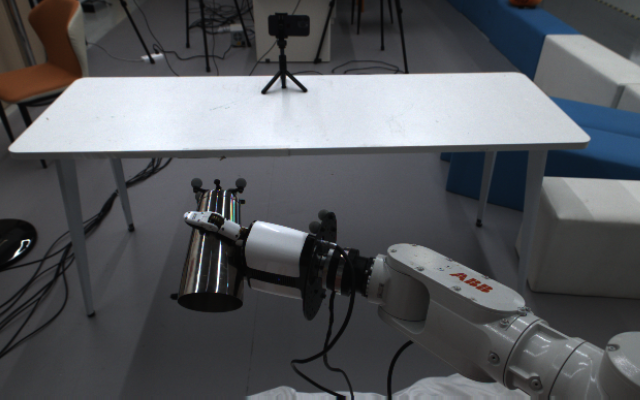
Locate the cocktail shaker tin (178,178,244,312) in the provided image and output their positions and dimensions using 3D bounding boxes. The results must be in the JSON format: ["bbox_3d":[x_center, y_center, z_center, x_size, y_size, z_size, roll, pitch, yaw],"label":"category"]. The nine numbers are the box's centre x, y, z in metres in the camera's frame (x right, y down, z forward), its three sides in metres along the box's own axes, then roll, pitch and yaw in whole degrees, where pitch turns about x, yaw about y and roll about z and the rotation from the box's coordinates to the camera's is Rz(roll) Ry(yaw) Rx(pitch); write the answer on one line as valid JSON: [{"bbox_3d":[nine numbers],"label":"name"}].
[{"bbox_3d":[-0.159,0.072,0.725,0.093,0.093,0.170,0,59,-3],"label":"cocktail shaker tin"}]
